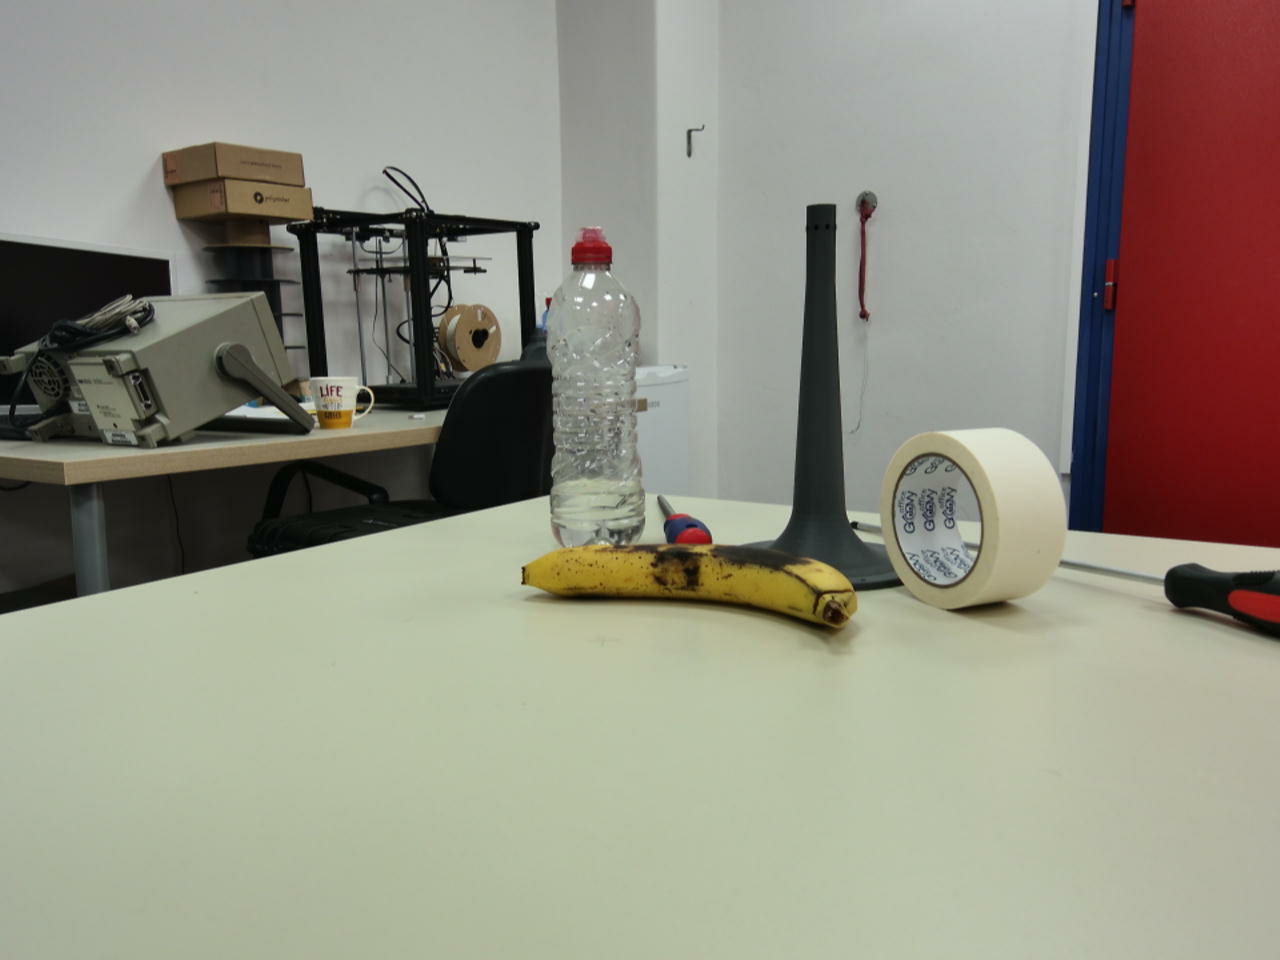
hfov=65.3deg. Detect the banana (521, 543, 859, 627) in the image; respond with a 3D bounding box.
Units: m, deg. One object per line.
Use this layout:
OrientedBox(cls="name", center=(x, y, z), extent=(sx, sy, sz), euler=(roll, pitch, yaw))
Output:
OrientedBox(cls="banana", center=(0.036, 0.060, 0.605), extent=(0.222, 0.037, 0.084), euler=(5, 8, 35))
